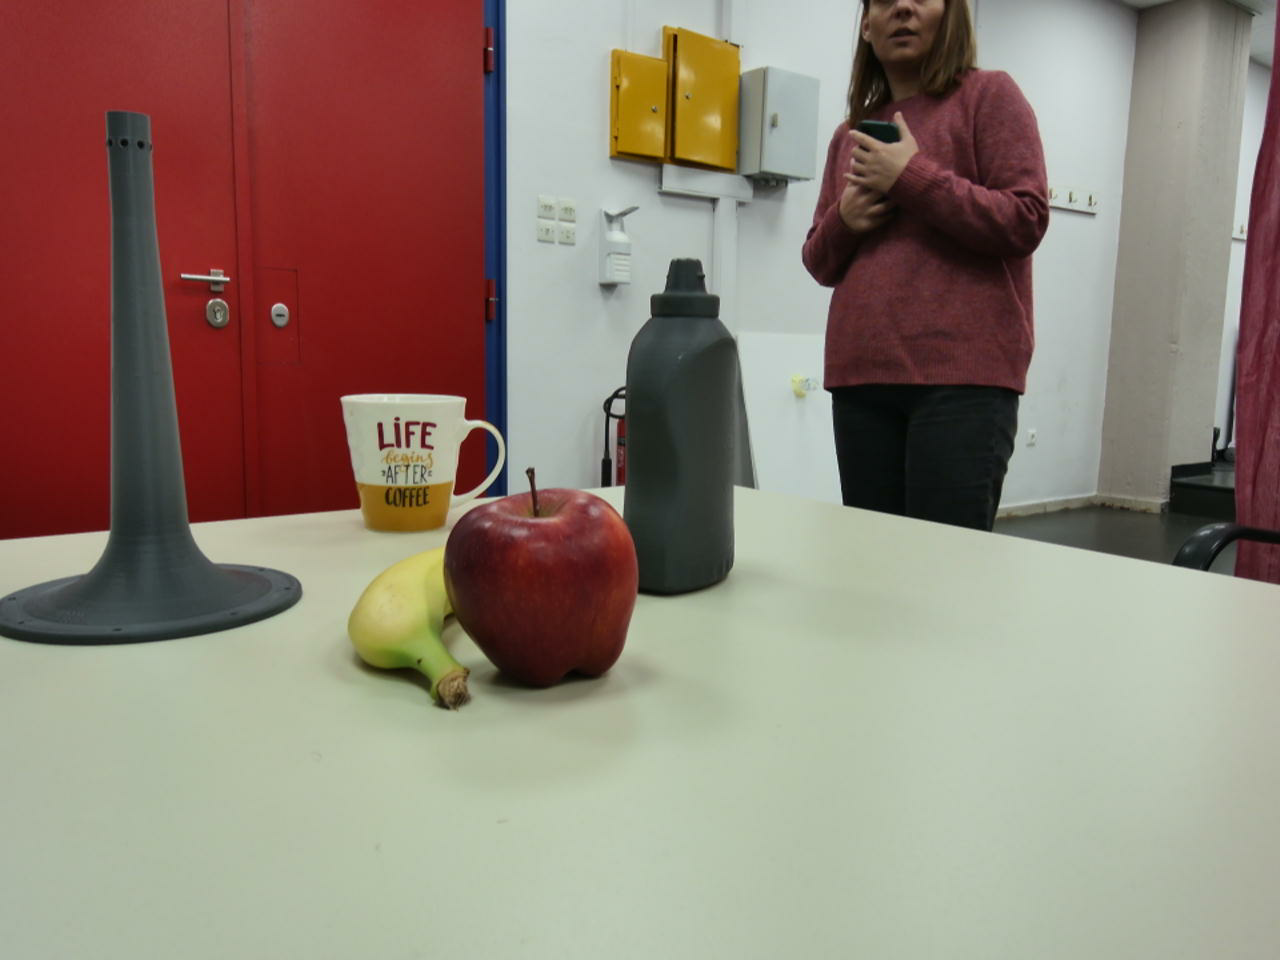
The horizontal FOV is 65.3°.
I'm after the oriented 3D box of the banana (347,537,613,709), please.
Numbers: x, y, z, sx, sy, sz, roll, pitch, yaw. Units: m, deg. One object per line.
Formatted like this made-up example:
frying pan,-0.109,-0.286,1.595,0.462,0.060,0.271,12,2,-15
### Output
banana,-0.086,0.058,0.494,0.094,0.041,0.196,2,6,17
